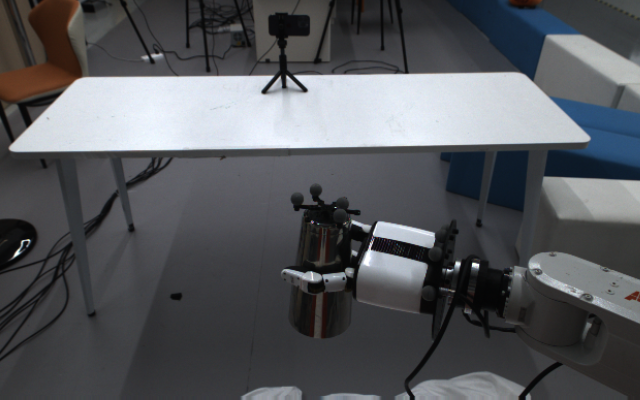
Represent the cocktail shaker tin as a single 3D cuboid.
[{"bbox_3d":[0.006,0.095,0.675,0.093,0.170,0.093,2,26,-1],"label":"cocktail shaker tin"}]
